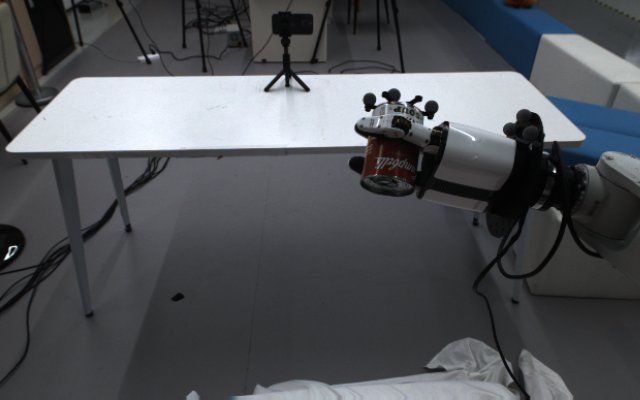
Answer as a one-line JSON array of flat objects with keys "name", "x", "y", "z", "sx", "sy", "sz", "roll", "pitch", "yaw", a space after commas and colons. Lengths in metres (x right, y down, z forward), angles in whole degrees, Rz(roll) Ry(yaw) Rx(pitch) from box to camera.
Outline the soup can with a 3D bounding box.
[{"name": "soup can", "x": 0.093, "y": -0.063, "z": 0.605, "sx": 0.067, "sy": 0.067, "sz": 0.101, "roll": 8, "pitch": 72, "yaw": 9}]
